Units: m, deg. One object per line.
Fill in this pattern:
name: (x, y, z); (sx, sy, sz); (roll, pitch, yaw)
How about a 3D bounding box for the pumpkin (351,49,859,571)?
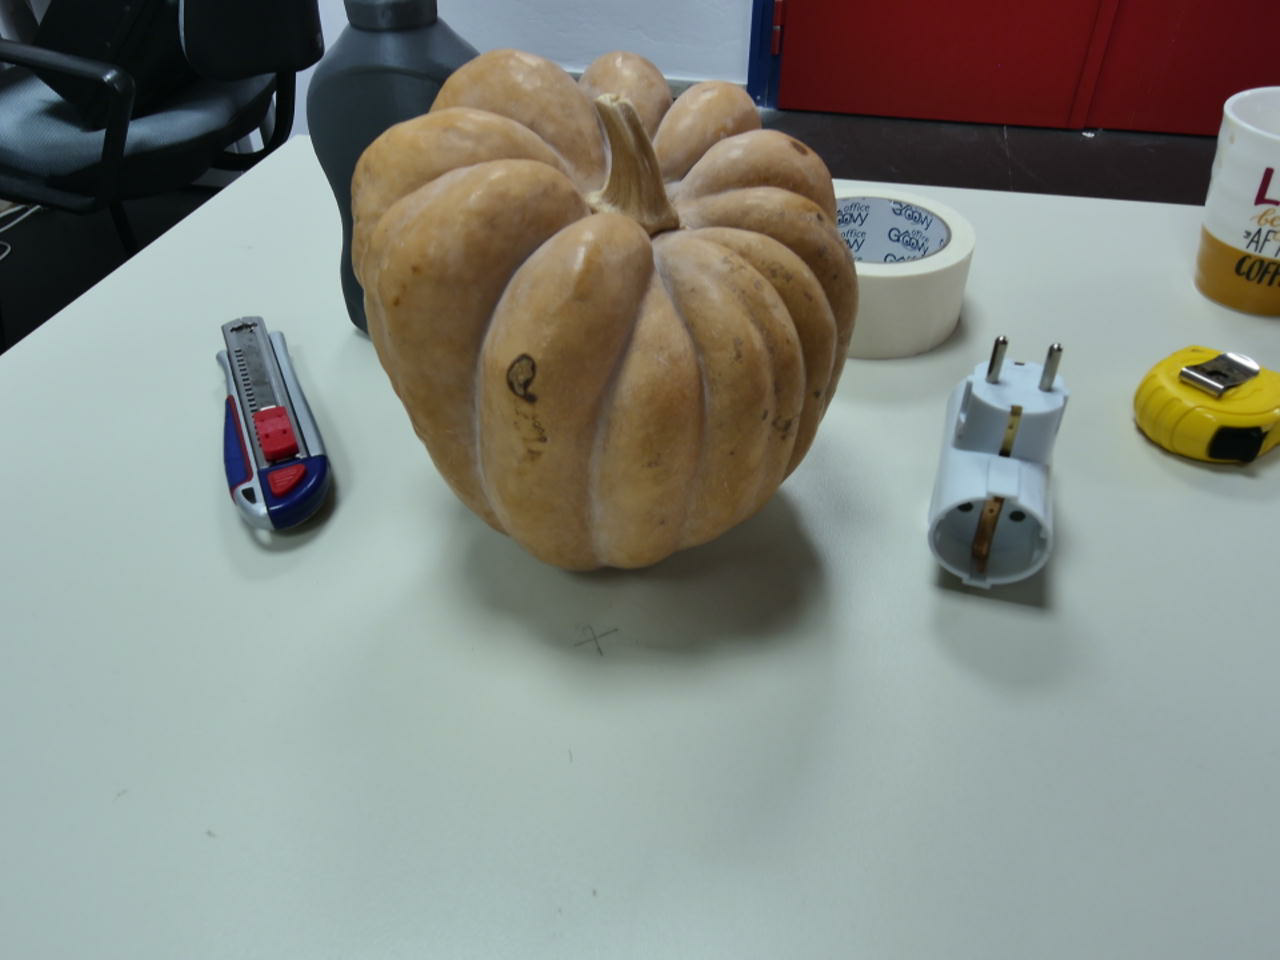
pumpkin: (-0.013, -0.064, 0.388); (0.199, 0.177, 0.198); (0, 38, 0)
